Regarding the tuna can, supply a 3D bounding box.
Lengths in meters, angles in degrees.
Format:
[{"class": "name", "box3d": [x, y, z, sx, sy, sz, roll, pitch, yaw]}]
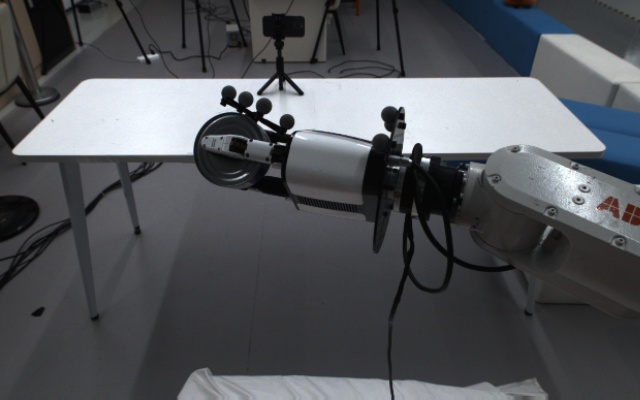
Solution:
[{"class": "tuna can", "box3d": [-0.098, -0.055, 0.562, 0.085, 0.085, 0.034, 9, -4, 11]}]
